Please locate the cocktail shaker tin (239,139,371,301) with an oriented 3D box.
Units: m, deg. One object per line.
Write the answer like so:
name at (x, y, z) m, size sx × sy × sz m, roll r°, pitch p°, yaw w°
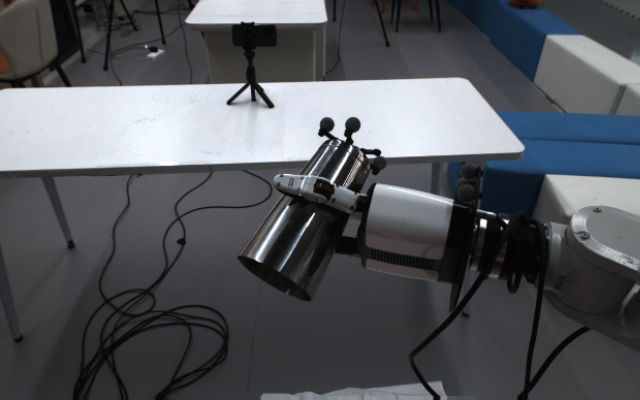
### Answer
cocktail shaker tin at (-0.006, 0.012, 0.544) m, size 0.093 × 0.093 × 0.170 m, roll 19°, pitch 67°, yaw 23°
